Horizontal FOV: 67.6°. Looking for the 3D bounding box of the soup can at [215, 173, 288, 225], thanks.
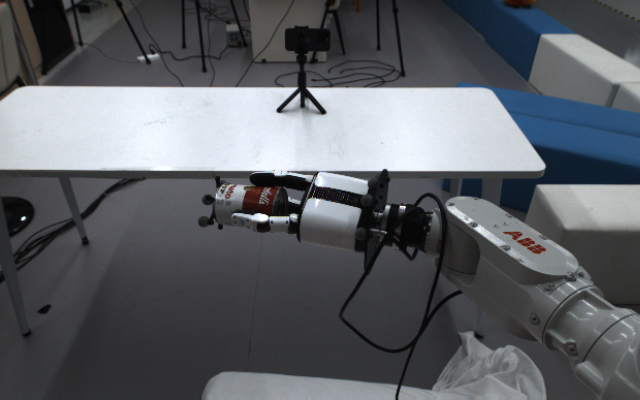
[{"bbox_3d":[-0.106,0.012,0.760,0.101,0.067,0.067,5,34,14],"label":"soup can"}]
